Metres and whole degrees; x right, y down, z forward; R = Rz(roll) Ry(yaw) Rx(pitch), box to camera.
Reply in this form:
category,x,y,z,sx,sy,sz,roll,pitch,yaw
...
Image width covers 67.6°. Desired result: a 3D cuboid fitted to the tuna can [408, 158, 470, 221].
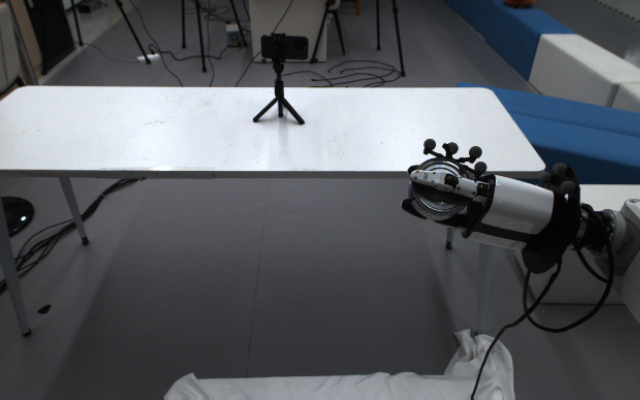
category,x,y,z,sx,sy,sz,roll,pitch,yaw
tuna can,0.171,-0.018,0.692,0.085,0.034,0.085,0,72,0
